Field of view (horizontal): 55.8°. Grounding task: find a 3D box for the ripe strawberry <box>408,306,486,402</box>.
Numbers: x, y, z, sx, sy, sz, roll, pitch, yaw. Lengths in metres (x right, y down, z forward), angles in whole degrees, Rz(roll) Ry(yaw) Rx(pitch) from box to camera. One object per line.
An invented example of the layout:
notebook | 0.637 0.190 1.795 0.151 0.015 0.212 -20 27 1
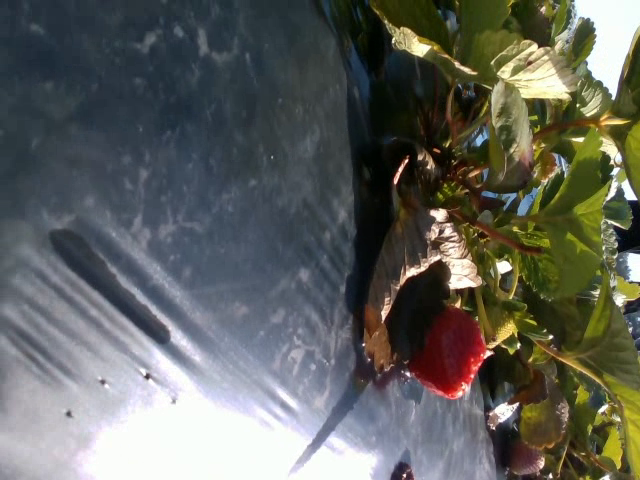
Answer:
ripe strawberry | 0.048 0.049 0.224 0.037 0.047 0.054 0 29 11
